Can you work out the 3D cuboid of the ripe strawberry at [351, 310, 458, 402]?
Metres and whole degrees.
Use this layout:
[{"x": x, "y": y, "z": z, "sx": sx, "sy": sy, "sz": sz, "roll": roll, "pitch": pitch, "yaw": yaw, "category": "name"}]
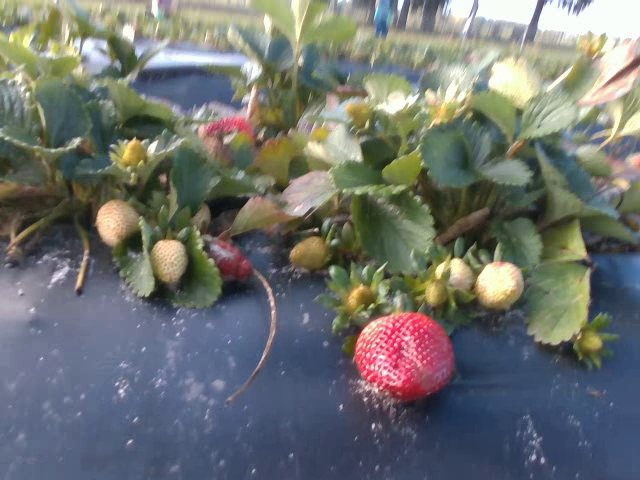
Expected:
[{"x": 0.043, "y": 0.061, "z": 0.309, "sx": 0.052, "sy": 0.045, "sz": 0.068, "roll": 6, "pitch": 13, "yaw": -2, "category": "ripe strawberry"}]
